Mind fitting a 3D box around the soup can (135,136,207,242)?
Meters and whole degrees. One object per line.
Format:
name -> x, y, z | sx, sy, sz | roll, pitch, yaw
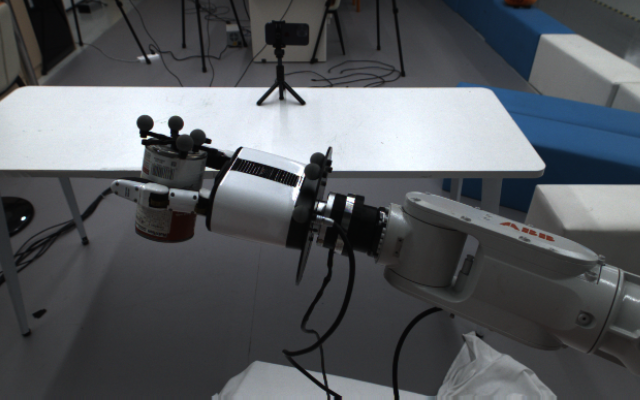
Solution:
soup can -> -0.166, -0.011, 0.543 | 0.067, 0.101, 0.067 | 13, 18, -4
